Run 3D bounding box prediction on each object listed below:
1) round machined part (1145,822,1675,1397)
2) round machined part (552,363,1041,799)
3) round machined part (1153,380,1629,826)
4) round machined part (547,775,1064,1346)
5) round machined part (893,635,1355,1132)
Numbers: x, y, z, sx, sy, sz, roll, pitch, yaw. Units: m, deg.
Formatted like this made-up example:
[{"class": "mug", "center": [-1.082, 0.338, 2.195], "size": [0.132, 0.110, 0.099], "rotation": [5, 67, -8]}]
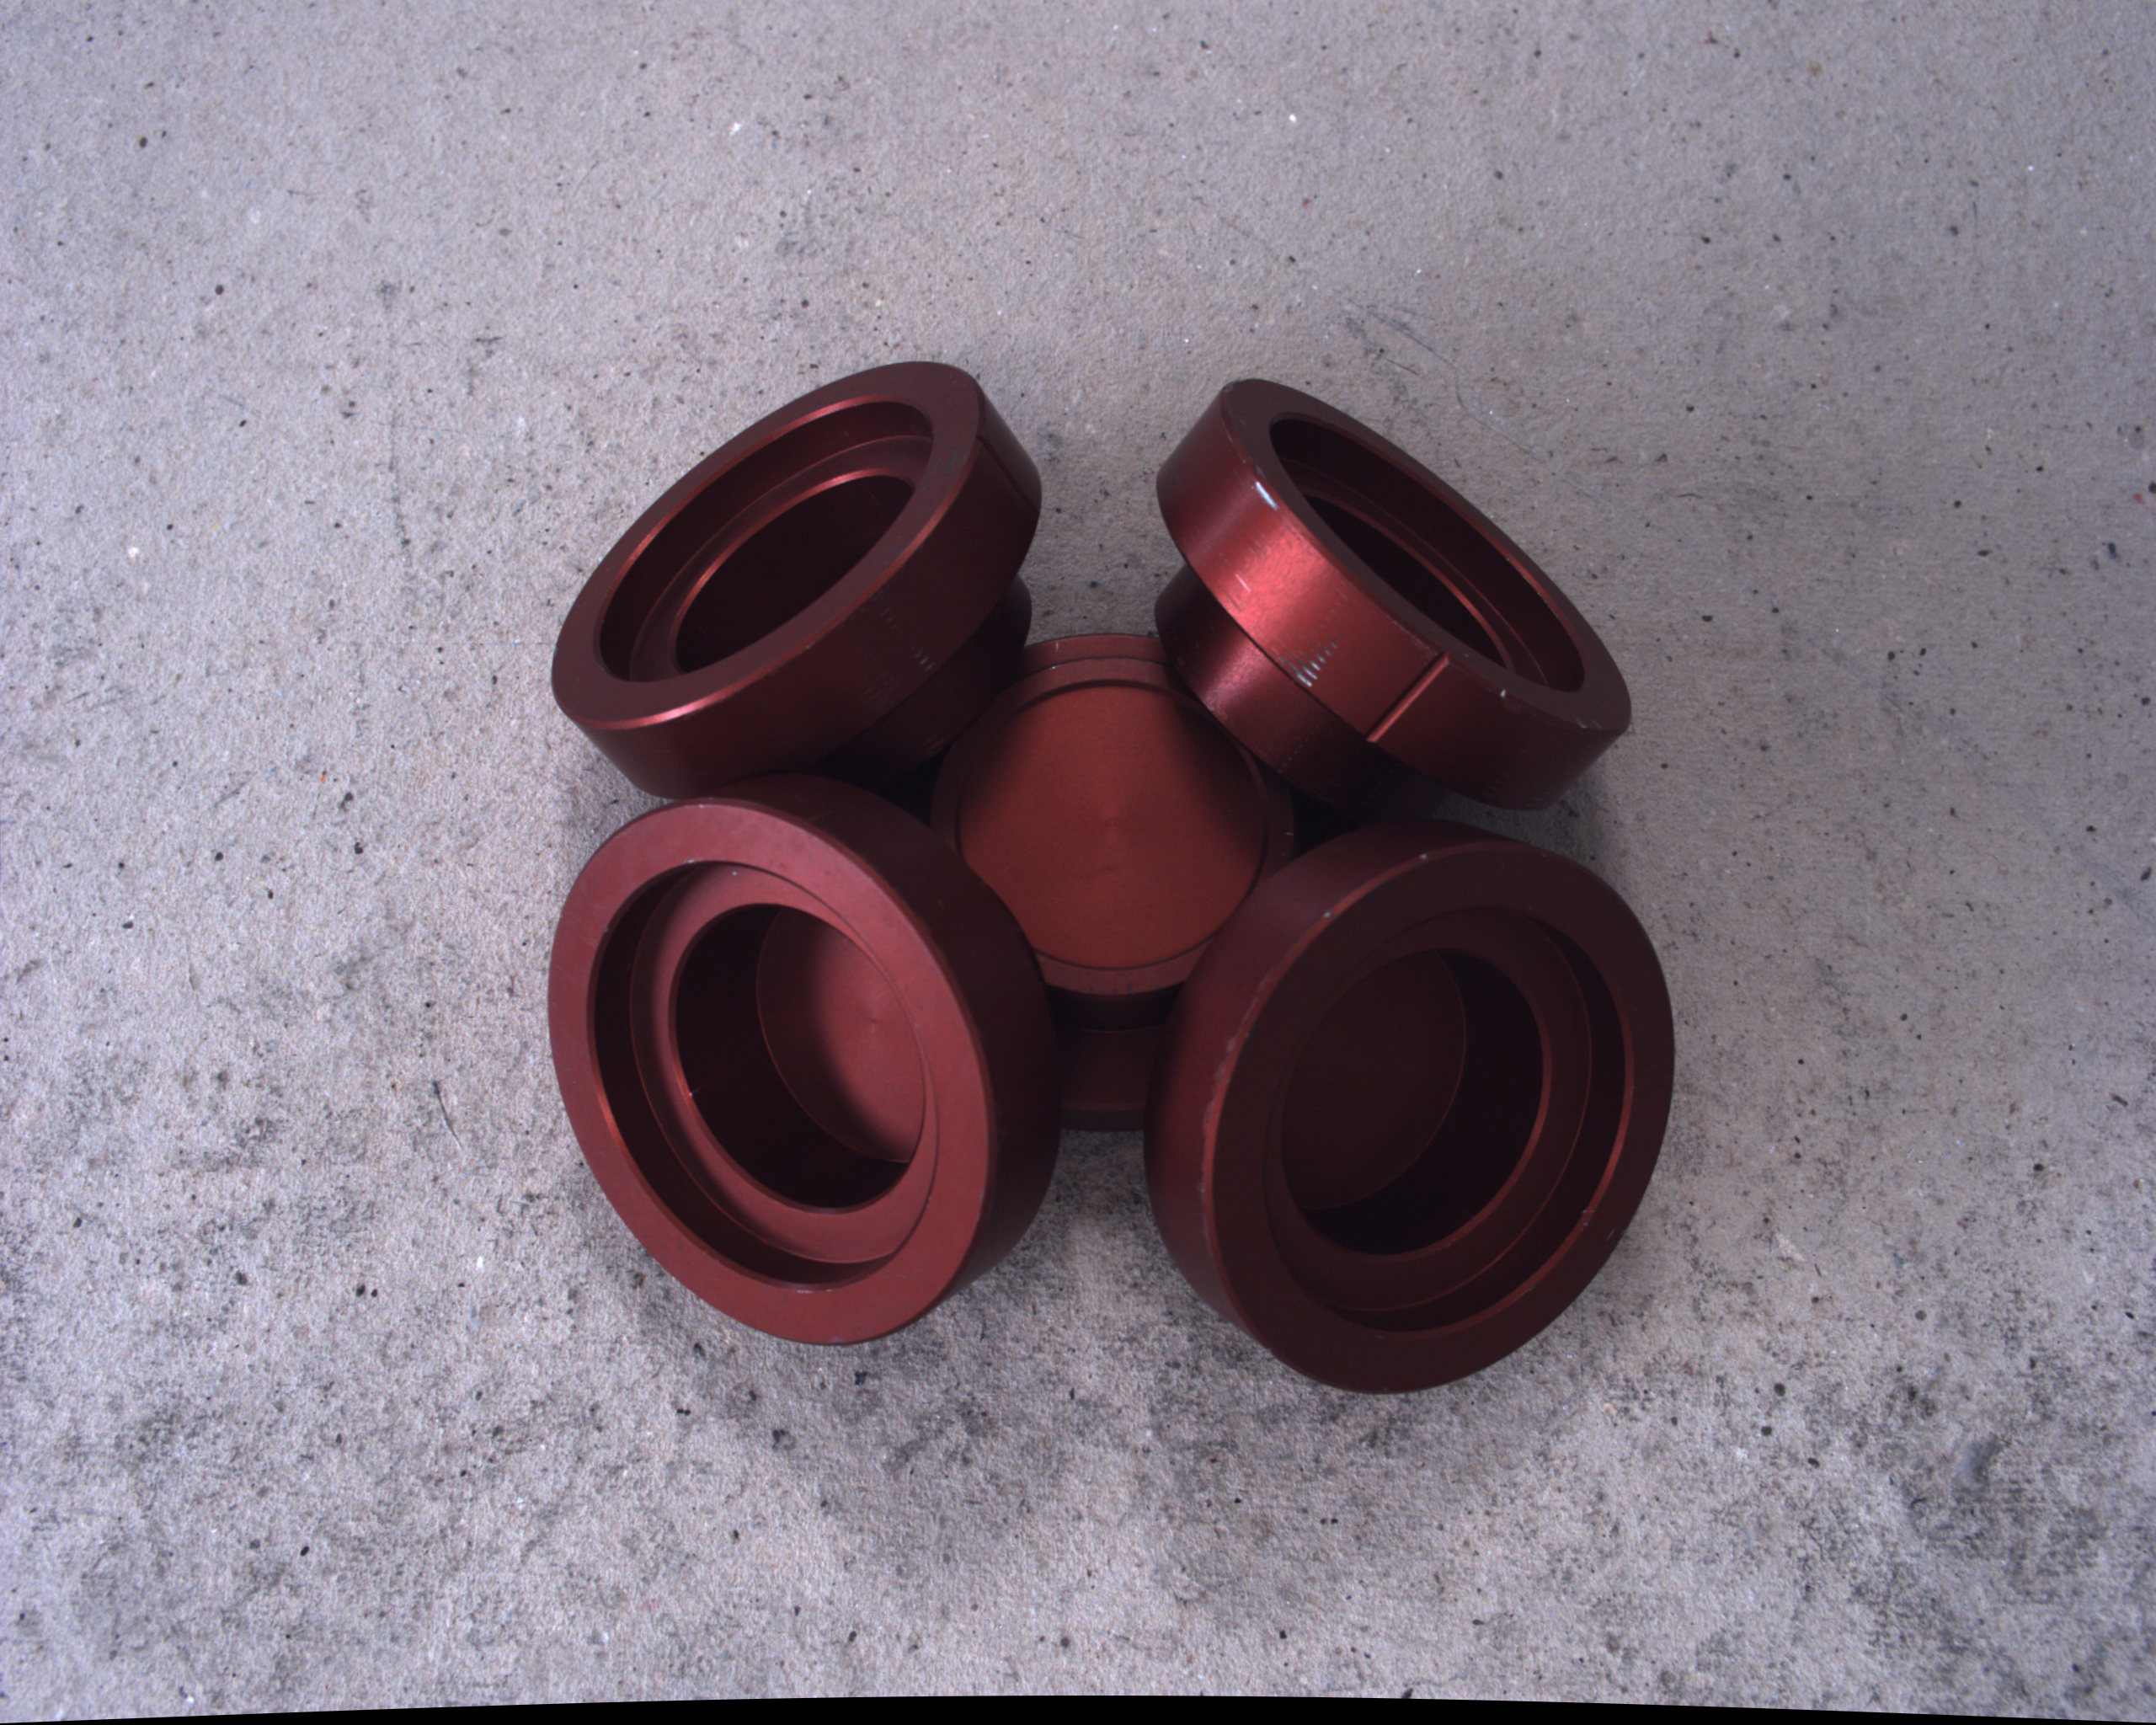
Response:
[{"class": "round machined part", "center": [0.054, 0.040, 0.369], "size": [0.099, 0.042, 0.097], "rotation": [-8, 106, -27]}, {"class": "round machined part", "center": [-0.049, -0.048, 0.400], "size": [0.098, 0.042, 0.098], "rotation": [-24, 37, 20]}, {"class": "round machined part", "center": [0.054, -0.044, 0.398], "size": [0.098, 0.099, 0.042], "rotation": [48, 117, 15]}, {"class": "round machined part", "center": [-0.044, 0.032, 0.370], "size": [0.098, 0.097, 0.042], "rotation": [45, 32, 14]}, {"class": "round machined part", "center": [0.006, -0.001, 0.400], "size": [0.099, 0.042, 0.098], "rotation": [1, 68, -1]}]
